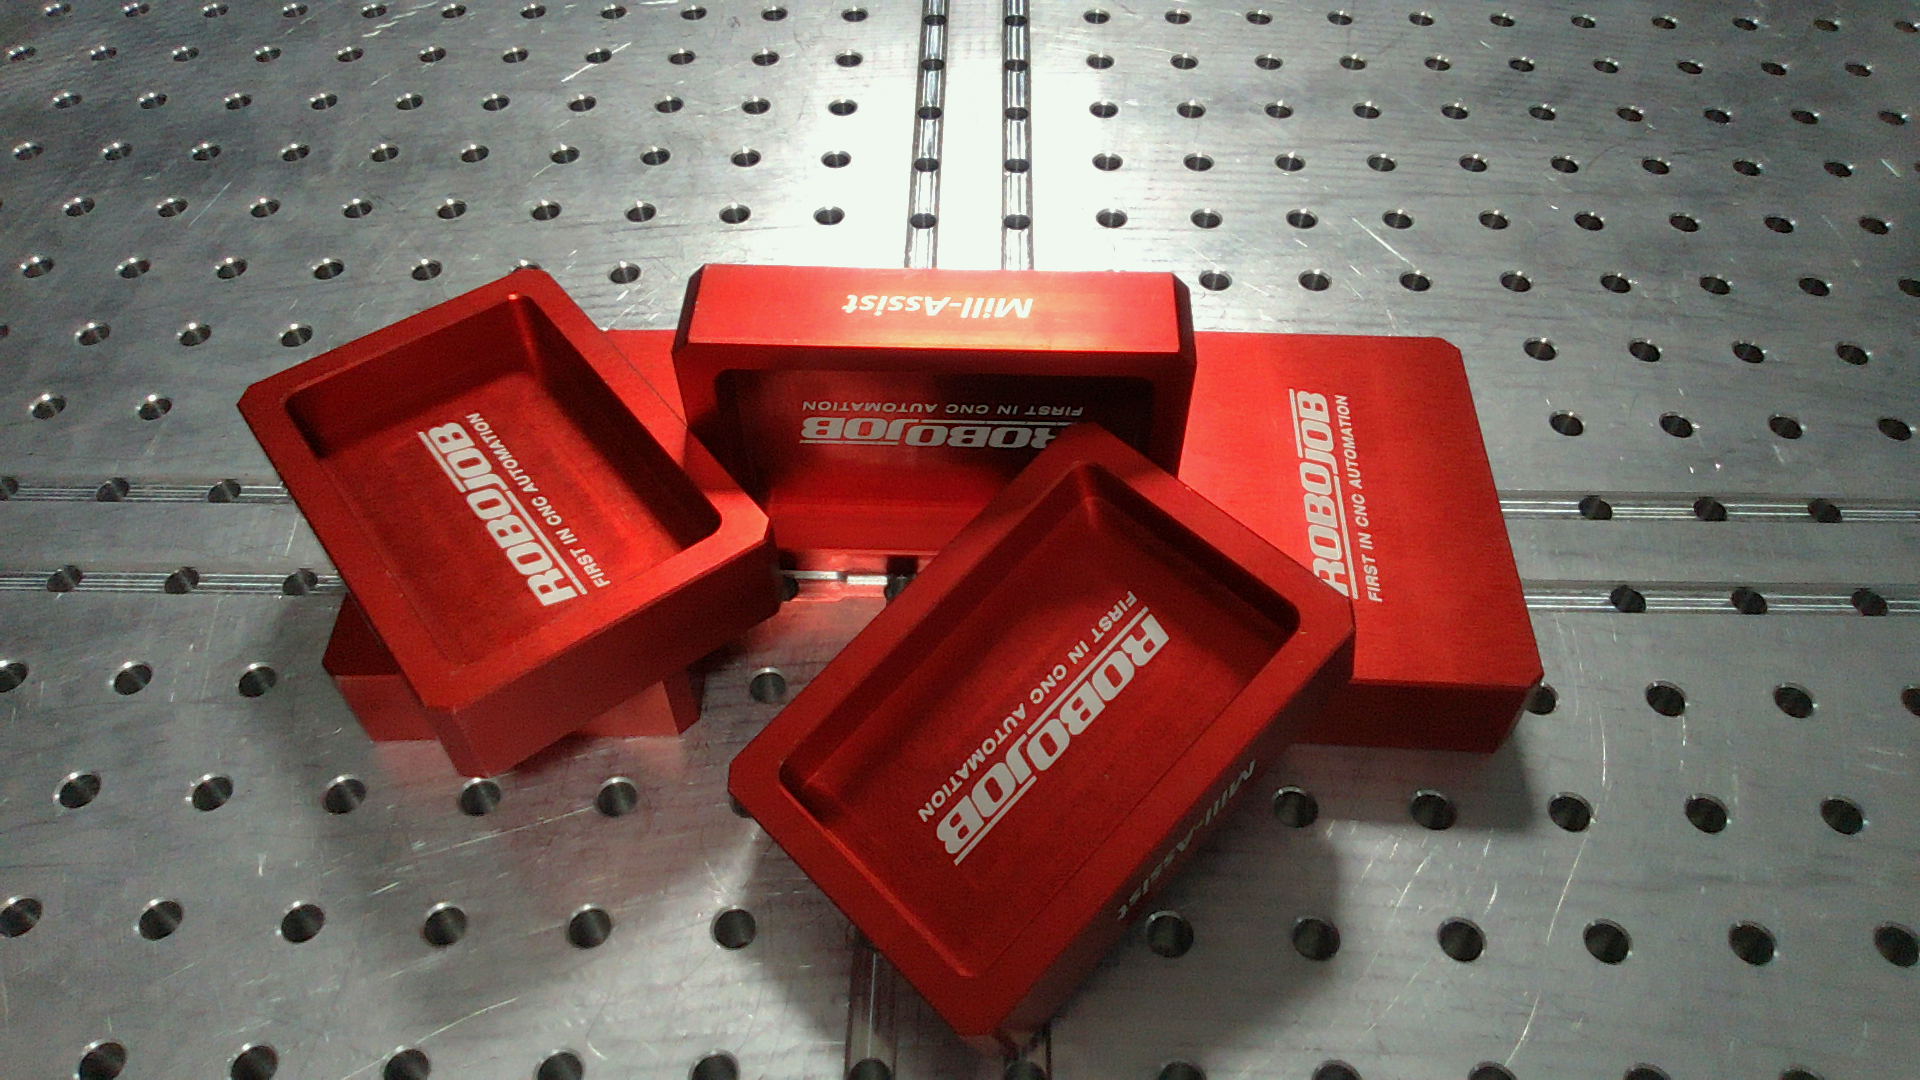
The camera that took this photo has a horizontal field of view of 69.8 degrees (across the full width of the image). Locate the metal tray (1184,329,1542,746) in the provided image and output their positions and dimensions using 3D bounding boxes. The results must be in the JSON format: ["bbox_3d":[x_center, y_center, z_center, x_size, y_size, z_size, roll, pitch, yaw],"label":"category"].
[{"bbox_3d":[0.104,-0.006,0.395,0.090,0.030,0.130,2,50,2],"label":"metal tray"}]

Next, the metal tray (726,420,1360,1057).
[{"bbox_3d":[0.021,0.043,0.331,0.090,0.030,0.130,39,77,27],"label":"metal tray"}]

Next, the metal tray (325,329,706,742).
[{"bbox_3d":[-0.116,-0.006,0.397,0.090,0.030,0.130,-1,50,0],"label":"metal tray"}]

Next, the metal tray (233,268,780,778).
[{"bbox_3d":[-0.119,-0.011,0.360,0.090,0.030,0.130,-30,57,-23],"label":"metal tray"}]

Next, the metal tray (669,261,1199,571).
[{"bbox_3d":[-0.006,-0.031,0.377,0.130,0.090,0.030,1,50,1],"label":"metal tray"}]
